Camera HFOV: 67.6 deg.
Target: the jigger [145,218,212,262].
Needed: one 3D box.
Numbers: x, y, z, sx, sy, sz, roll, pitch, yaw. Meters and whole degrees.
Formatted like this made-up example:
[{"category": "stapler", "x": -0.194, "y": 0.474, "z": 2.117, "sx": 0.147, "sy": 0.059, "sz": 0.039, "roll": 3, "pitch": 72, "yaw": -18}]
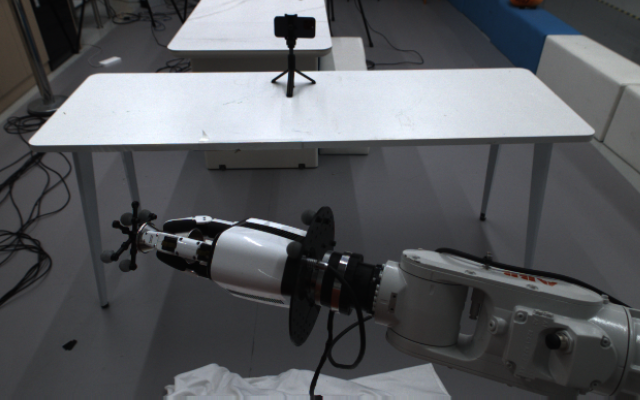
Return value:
[{"category": "jigger", "x": -0.178, "y": 0.048, "z": 0.594, "sx": 0.071, "sy": 0.043, "sz": 0.043, "roll": 7, "pitch": 35, "yaw": 15}]
